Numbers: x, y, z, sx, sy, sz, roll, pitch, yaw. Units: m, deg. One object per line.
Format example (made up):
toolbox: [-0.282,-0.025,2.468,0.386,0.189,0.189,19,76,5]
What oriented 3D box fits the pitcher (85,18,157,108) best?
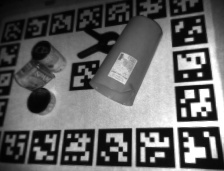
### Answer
pitcher: [0.026,-0.069,0.626,0.186,0.135,0.243,11,67,44]

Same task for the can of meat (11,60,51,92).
can of meat: [-0.270,-0.027,0.723,0.083,0.103,0.057,-40,66,6]

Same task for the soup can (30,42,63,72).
soup can: [-0.222,-0.094,0.735,0.067,0.103,0.068,-6,72,19]

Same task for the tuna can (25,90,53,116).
tuna can: [-0.244,0.060,0.726,0.085,0.034,0.085,-5,73,16]

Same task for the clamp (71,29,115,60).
clamp: [-0.058,-0.147,0.747,0.164,0.037,0.121,-1,68,14]
